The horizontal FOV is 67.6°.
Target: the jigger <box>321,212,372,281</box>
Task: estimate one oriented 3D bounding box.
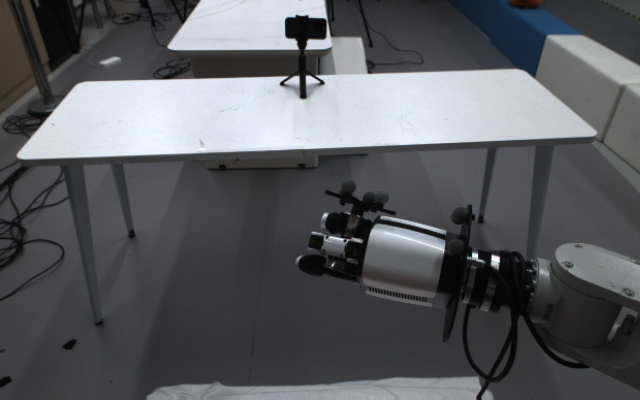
[{"bbox_3d":[0.034,0.051,0.578,0.043,0.071,0.043,19,-6,2],"label":"jigger"}]
